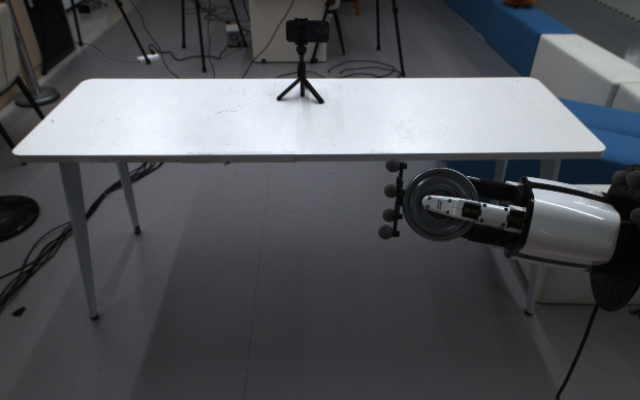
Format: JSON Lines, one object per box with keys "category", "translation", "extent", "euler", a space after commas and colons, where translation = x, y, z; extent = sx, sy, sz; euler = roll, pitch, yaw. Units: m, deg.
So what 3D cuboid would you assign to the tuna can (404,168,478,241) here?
{"category": "tuna can", "translation": [0.141, 0.002, 0.559], "extent": [0.085, 0.085, 0.034], "euler": [10, 1, 11]}
